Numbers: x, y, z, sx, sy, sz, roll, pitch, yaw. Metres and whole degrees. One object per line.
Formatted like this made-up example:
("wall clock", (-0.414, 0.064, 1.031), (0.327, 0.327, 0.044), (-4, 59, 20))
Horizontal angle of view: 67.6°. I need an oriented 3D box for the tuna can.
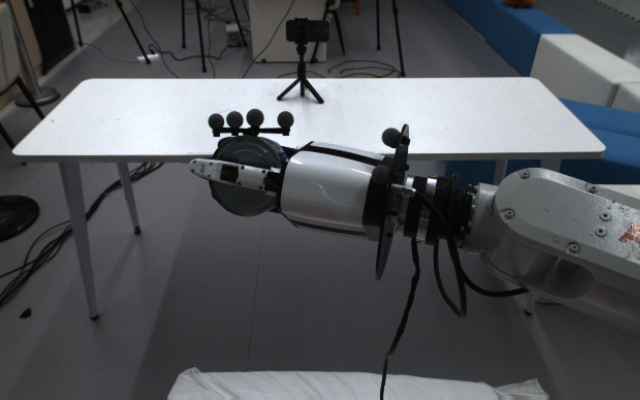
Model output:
("tuna can", (-0.072, -0.026, 0.523), (0.085, 0.085, 0.034), (12, 8, 14))
